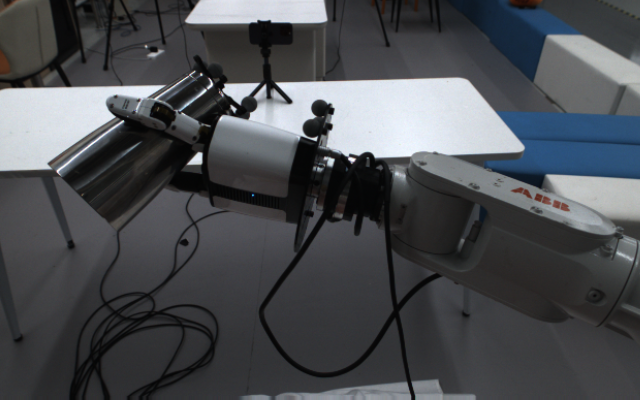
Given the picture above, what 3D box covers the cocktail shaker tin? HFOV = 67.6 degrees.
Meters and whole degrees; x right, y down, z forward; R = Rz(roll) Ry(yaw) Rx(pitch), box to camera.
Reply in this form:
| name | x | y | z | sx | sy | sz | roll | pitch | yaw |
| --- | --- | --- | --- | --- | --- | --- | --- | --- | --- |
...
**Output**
| name | x | y | z | sx | sy | sz | roll | pitch | yaw |
| --- | --- | --- | --- | --- | --- | --- | --- | --- | --- |
| cocktail shaker tin | -0.175 | -0.059 | 0.499 | 0.093 | 0.093 | 0.170 | 31 | 65 | 35 |
